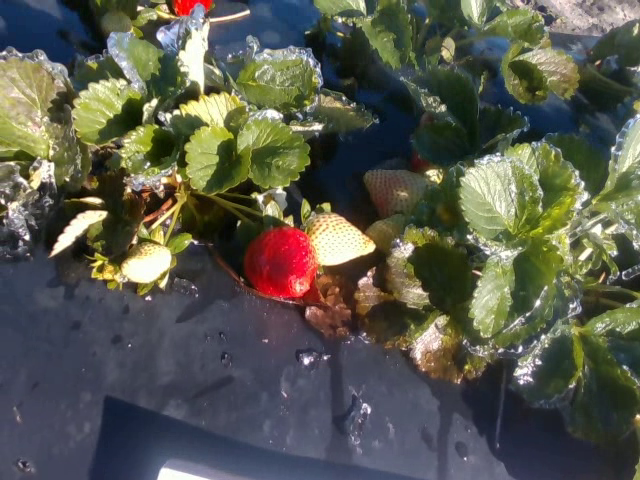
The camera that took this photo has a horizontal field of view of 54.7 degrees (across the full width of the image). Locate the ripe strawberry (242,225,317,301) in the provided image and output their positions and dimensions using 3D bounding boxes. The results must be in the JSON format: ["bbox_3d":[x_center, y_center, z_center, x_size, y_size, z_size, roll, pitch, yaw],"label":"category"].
[{"bbox_3d":[-0.016,0.014,0.290,0.040,0.042,0.053,-20,23,-8],"label":"ripe strawberry"}]
